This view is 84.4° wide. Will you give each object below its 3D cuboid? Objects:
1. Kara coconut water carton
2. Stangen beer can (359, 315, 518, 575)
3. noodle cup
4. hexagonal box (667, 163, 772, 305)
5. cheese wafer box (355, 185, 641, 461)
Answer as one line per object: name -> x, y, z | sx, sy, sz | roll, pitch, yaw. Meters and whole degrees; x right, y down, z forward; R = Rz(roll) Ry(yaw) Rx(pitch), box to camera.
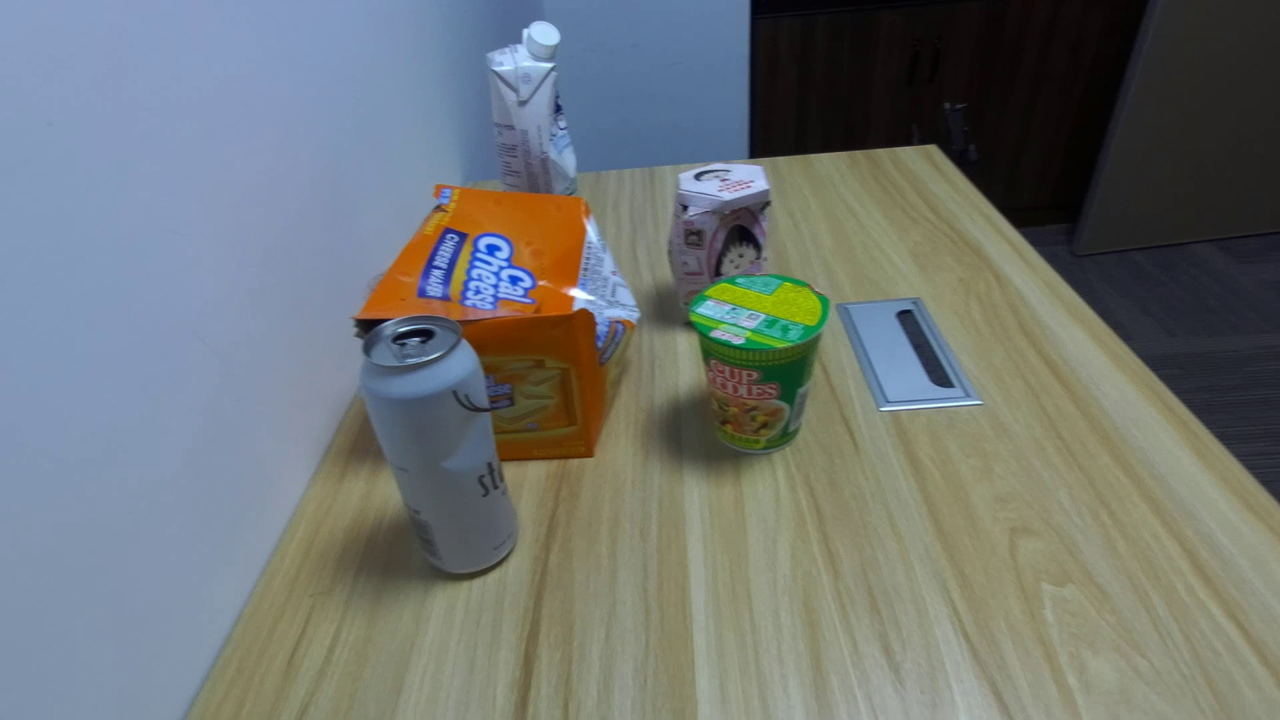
Kara coconut water carton -> -0.104, -0.194, 0.702 | 0.078, 0.256, 0.083 | 0, 35, 4
Stangen beer can -> -0.118, 0.055, 0.437 | 0.069, 0.173, 0.070 | -4, 36, 2
noodle cup -> 0.087, 0.007, 0.516 | 0.097, 0.110, 0.097 | -4, 36, 4
hexagonal box -> 0.073, -0.104, 0.655 | 0.091, 0.135, 0.090 | 2, 33, 11
cheese wafer box -> -0.096, -0.043, 0.591 | 0.191, 0.145, 0.218 | -4, 36, 4
